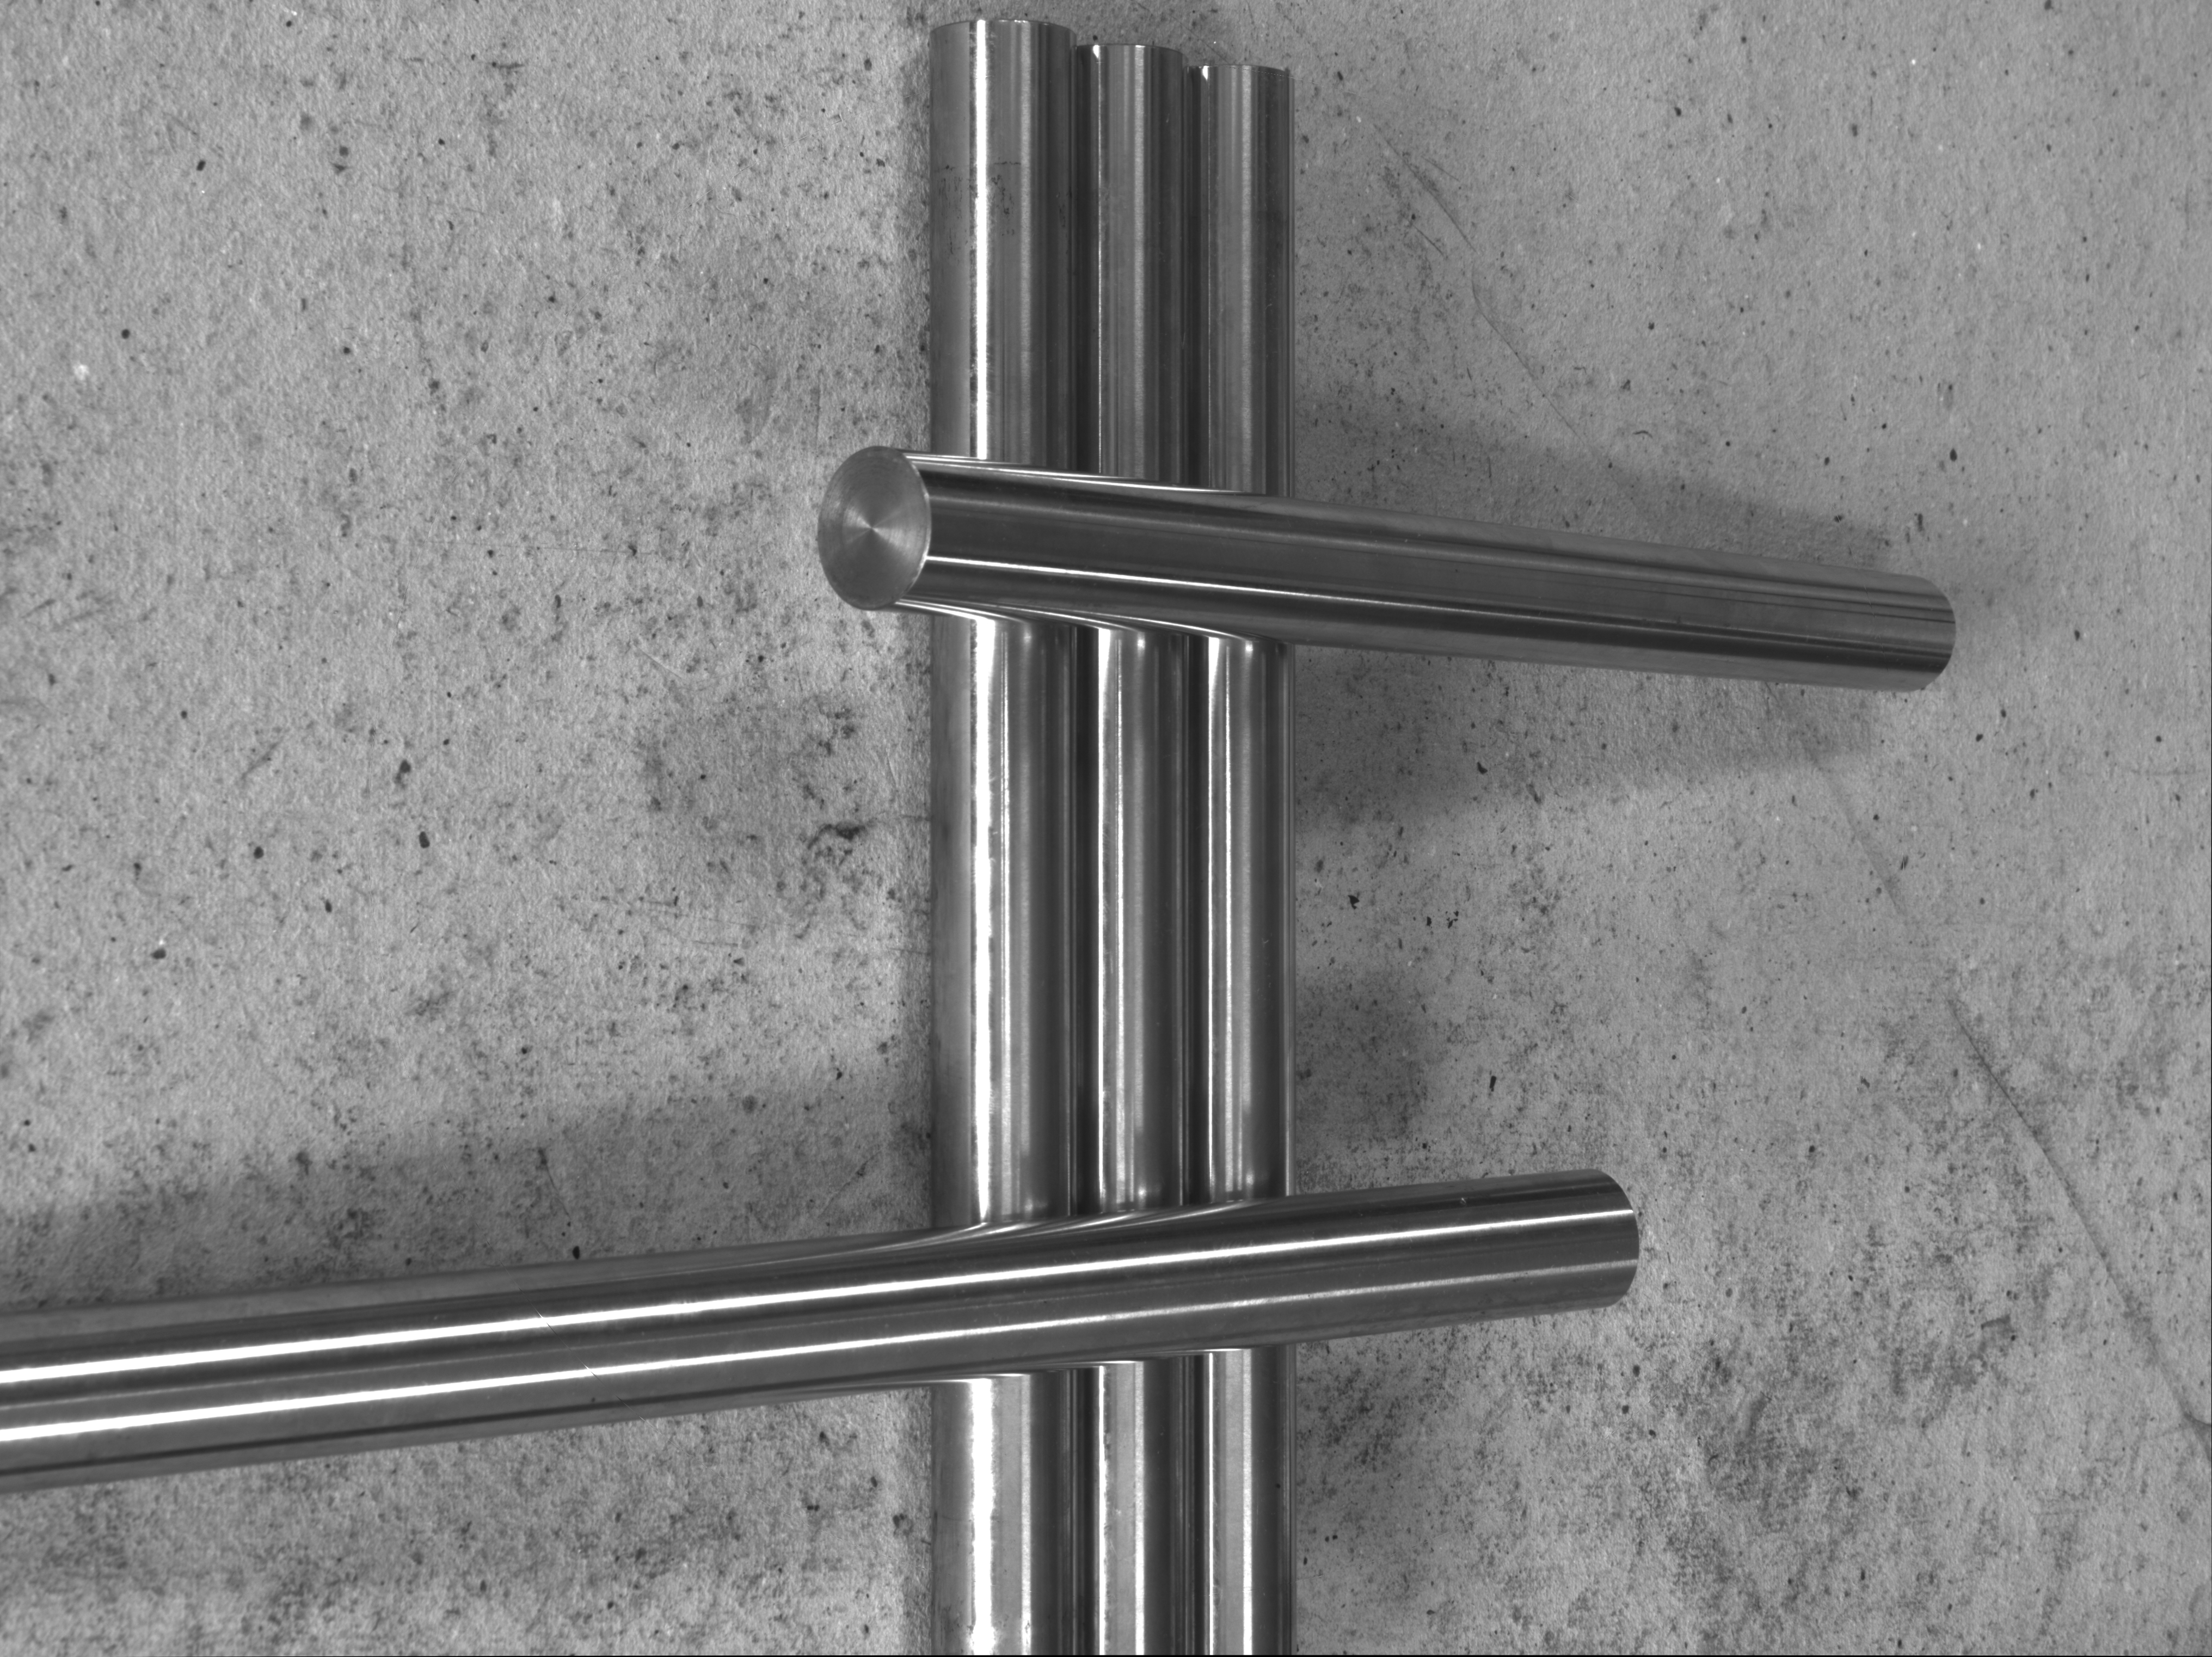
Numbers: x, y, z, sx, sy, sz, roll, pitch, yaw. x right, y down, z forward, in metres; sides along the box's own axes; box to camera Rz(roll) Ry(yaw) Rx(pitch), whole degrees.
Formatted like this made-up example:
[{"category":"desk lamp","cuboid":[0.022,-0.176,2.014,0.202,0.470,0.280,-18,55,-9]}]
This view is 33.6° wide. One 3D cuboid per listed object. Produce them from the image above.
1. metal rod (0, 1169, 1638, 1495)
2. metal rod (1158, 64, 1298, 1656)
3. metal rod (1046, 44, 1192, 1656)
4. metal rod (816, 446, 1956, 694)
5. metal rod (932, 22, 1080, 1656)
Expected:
[{"category":"metal rod","cuboid":[-0.039,0.077,0.578,0.301,0.025,0.025,-1,91,-33]},{"category":"metal rod","cuboid":[0.022,0.016,0.653,0.025,0.025,0.300,0,90,-40]},{"category":"metal rod","cuboid":[0.002,0.017,0.637,0.025,0.025,0.300,0,90,-40]},{"category":"metal rod","cuboid":[0.067,-0.043,0.666,0.301,0.025,0.025,1,89,-47]},{"category":"metal rod","cuboid":[-0.017,0.016,0.621,0.025,0.025,0.300,0,90,-40]}]
